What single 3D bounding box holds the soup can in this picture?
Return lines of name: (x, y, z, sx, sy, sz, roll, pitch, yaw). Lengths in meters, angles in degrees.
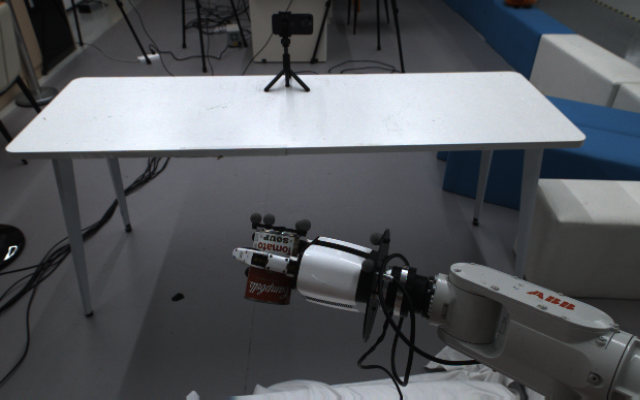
soup can: (-0.069, 0.097, 0.705, 0.067, 0.101, 0.067, 9, -6, 1)
